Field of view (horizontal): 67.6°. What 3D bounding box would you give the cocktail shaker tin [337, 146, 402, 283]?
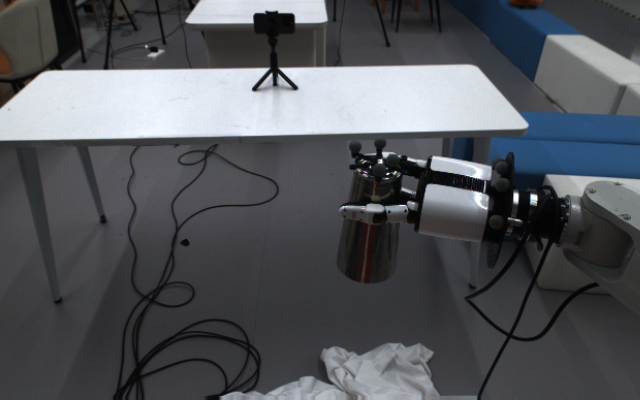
[{"bbox_3d":[0.078,0.024,0.708,0.093,0.170,0.093,3,33,-2],"label":"cocktail shaker tin"}]
